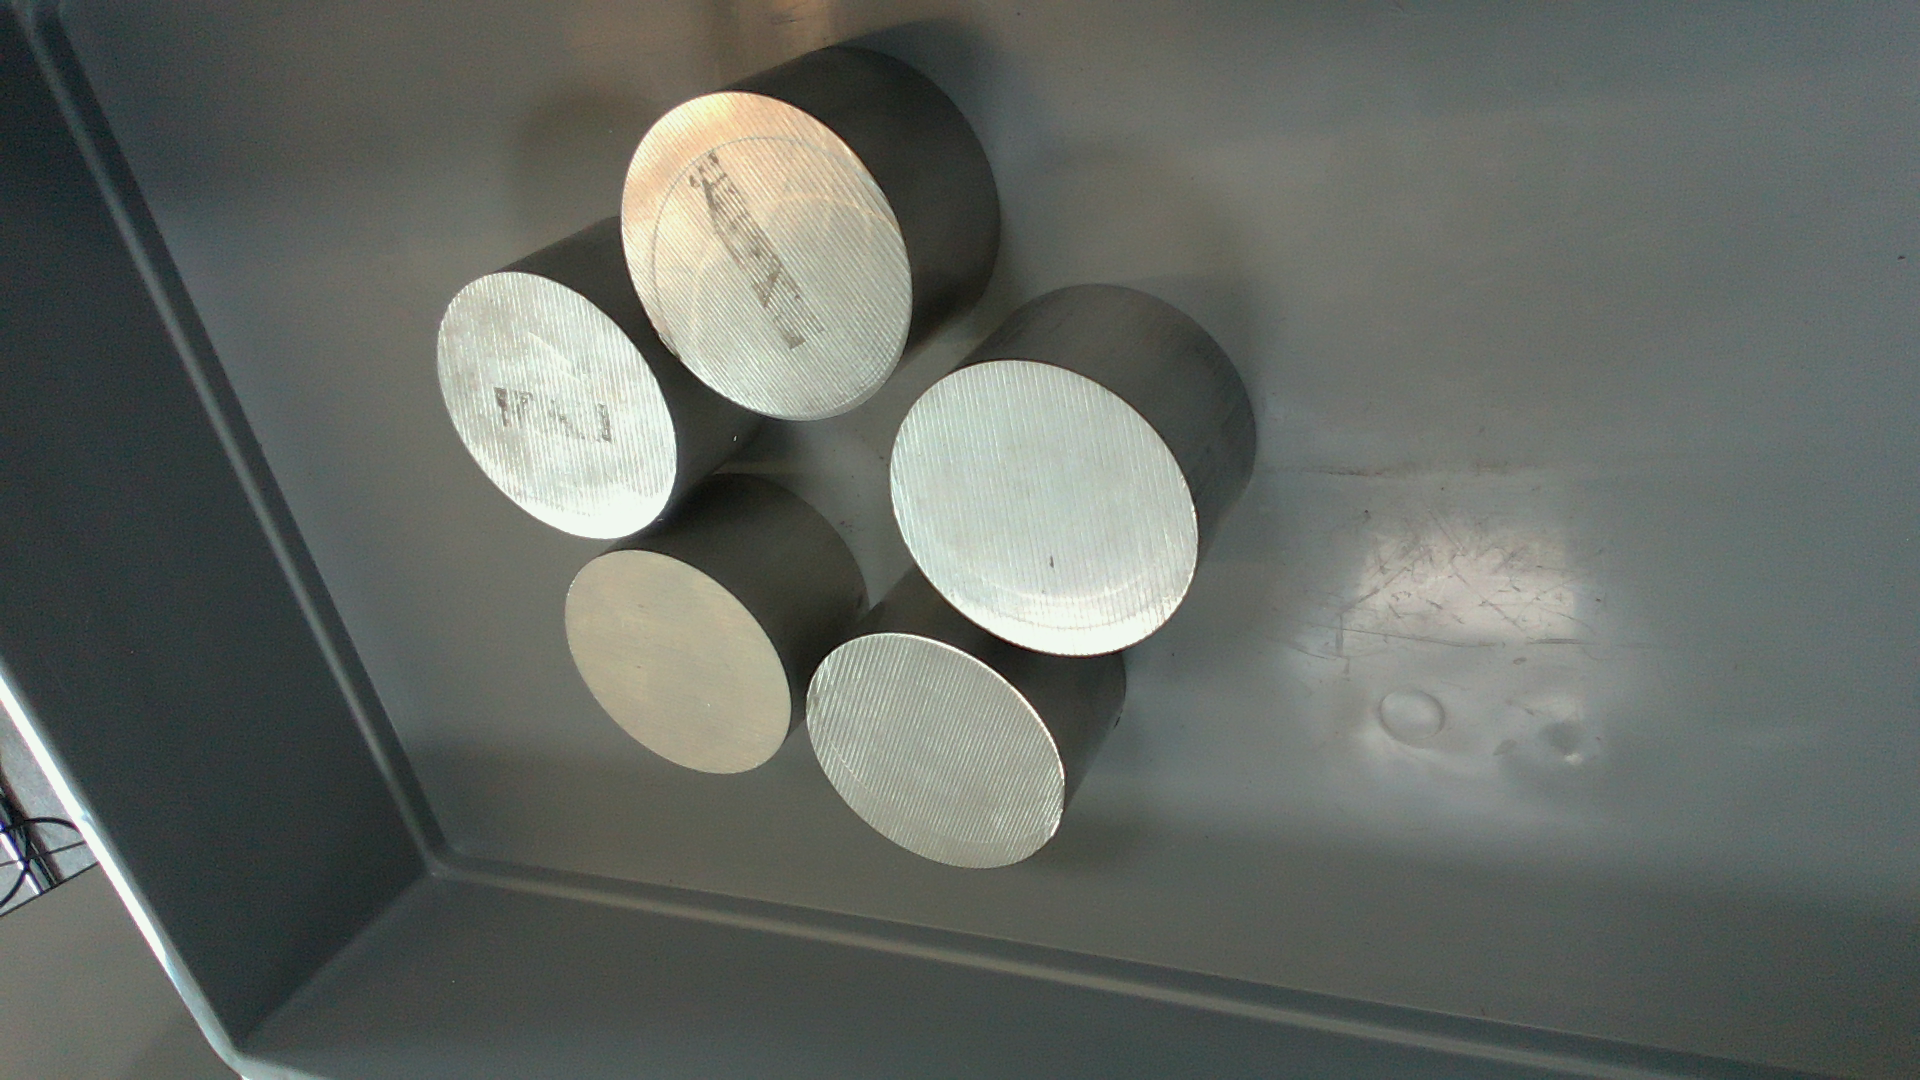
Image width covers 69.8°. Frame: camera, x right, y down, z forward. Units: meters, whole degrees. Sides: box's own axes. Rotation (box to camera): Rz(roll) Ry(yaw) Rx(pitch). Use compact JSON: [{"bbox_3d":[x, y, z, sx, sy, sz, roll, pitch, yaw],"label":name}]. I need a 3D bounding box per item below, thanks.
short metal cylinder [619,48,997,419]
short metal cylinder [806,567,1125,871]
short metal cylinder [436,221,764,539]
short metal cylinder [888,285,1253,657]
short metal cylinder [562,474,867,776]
[{"bbox_3d":[-0.037,-0.077,0.347,0.080,0.050,0.080,13,124,21],"label":"short metal cylinder"},{"bbox_3d":[0.002,0.049,0.404,0.080,0.050,0.080,13,124,21],"label":"short metal cylinder"},{"bbox_3d":[-0.103,-0.047,0.401,0.080,0.050,0.080,13,124,21],"label":"short metal cylinder"},{"bbox_3d":[0.029,-0.018,0.348,0.080,0.050,0.080,13,124,21],"label":"short metal cylinder"},{"bbox_3d":[-0.076,0.026,0.432,0.080,0.050,0.080,13,124,21],"label":"short metal cylinder"}]
